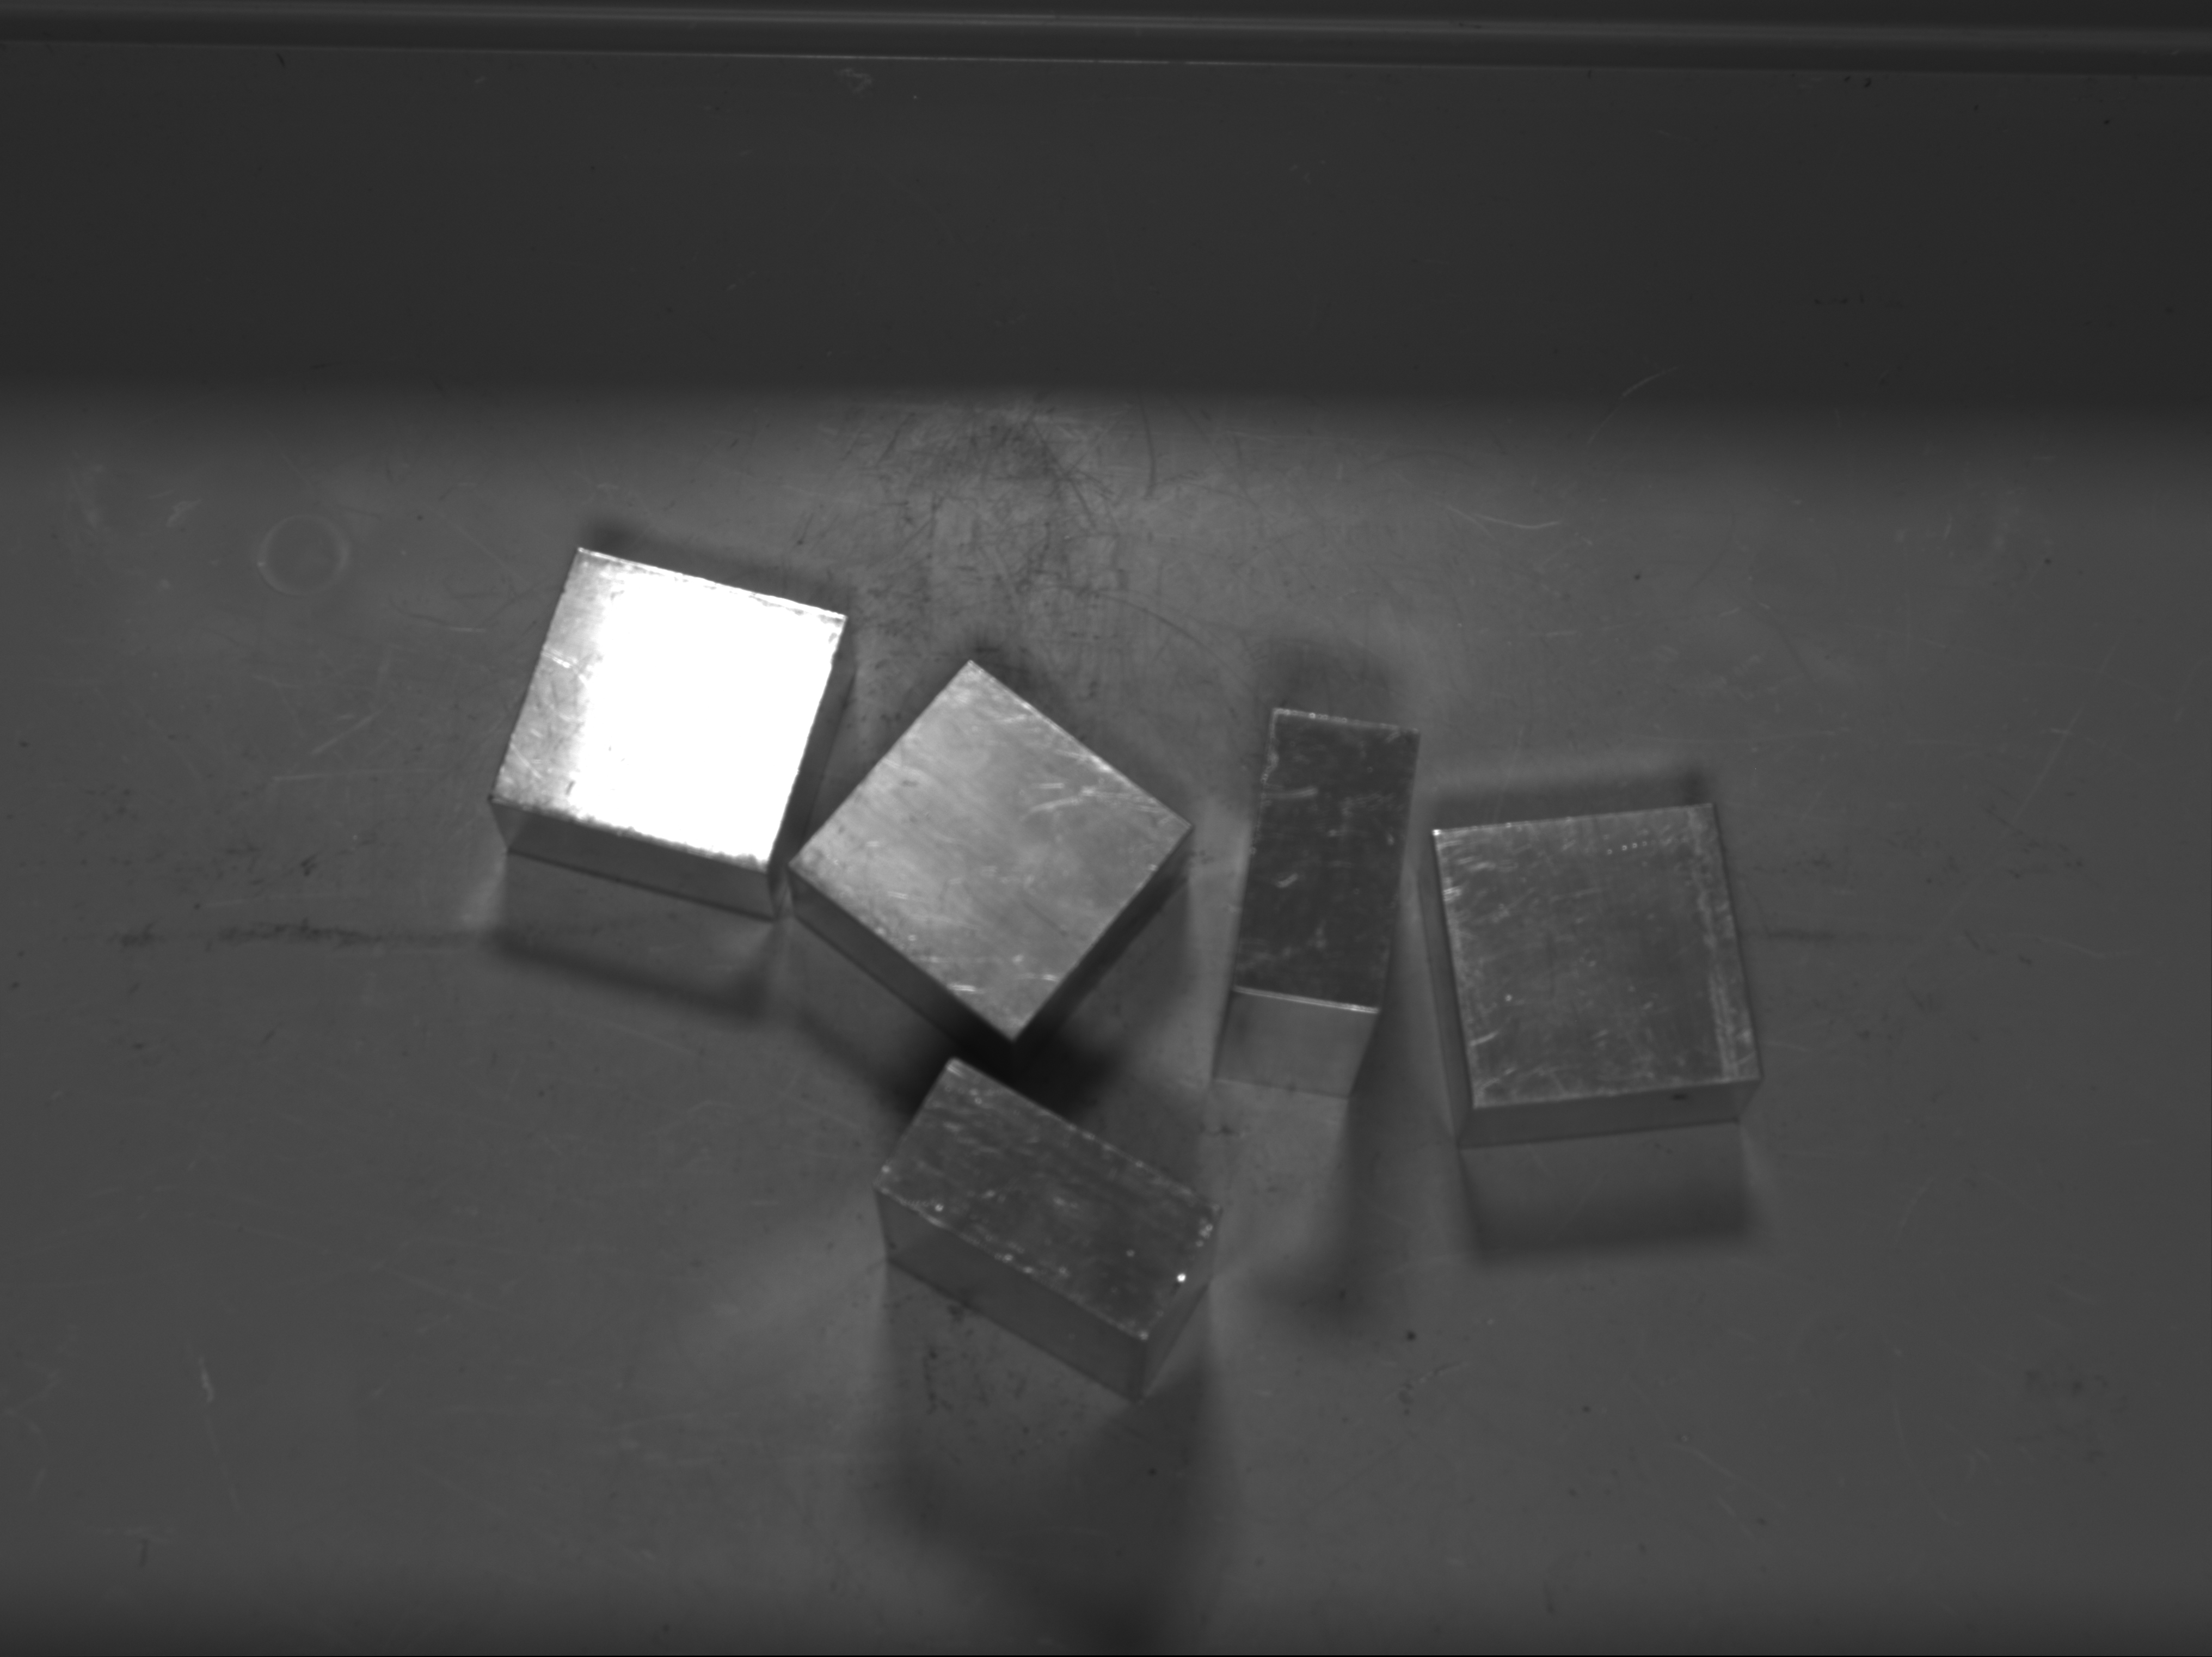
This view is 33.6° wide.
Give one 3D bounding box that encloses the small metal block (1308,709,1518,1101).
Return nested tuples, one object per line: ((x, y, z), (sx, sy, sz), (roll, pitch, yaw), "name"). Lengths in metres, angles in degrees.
((0.052, 0.014, 0.625), (0.025, 0.050, 0.050), (9, 70, 3), "small metal block")

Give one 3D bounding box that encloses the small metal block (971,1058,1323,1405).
((0.007, 0.067, 0.605), (0.050, 0.050, 0.025), (29, 73, 10), "small metal block")

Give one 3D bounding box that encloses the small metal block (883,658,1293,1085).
((-0.003, 0.008, 0.640), (0.050, 0.025, 0.050), (37, 74, 12), "small metal block")

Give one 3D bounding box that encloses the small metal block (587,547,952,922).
((-0.059, -0.017, 0.649), (0.050, 0.025, 0.050), (14, 70, 5), "small metal block")

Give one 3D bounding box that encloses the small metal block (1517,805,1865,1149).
((0.100, 0.026, 0.633), (0.050, 0.025, 0.050), (-5, 70, -2), "small metal block")
